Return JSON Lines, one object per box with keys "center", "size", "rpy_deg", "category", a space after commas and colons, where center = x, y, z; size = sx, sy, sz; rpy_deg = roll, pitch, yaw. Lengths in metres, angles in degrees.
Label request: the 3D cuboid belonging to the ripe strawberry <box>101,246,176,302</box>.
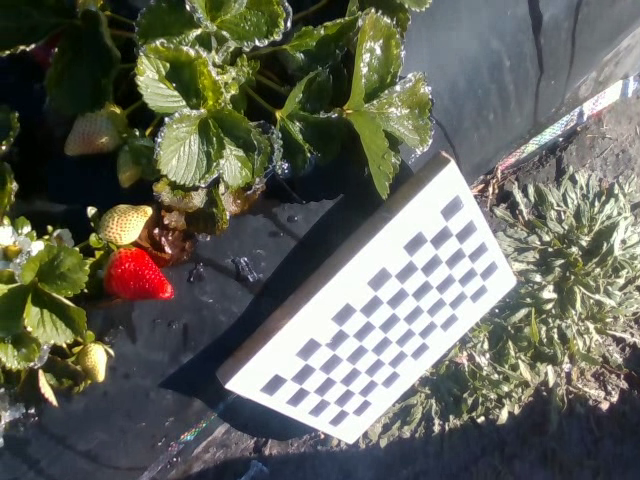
{"center": [-0.120, 0.027, 0.411], "size": [0.053, 0.040, 0.042], "rpy_deg": [26, 26, 19], "category": "ripe strawberry"}
